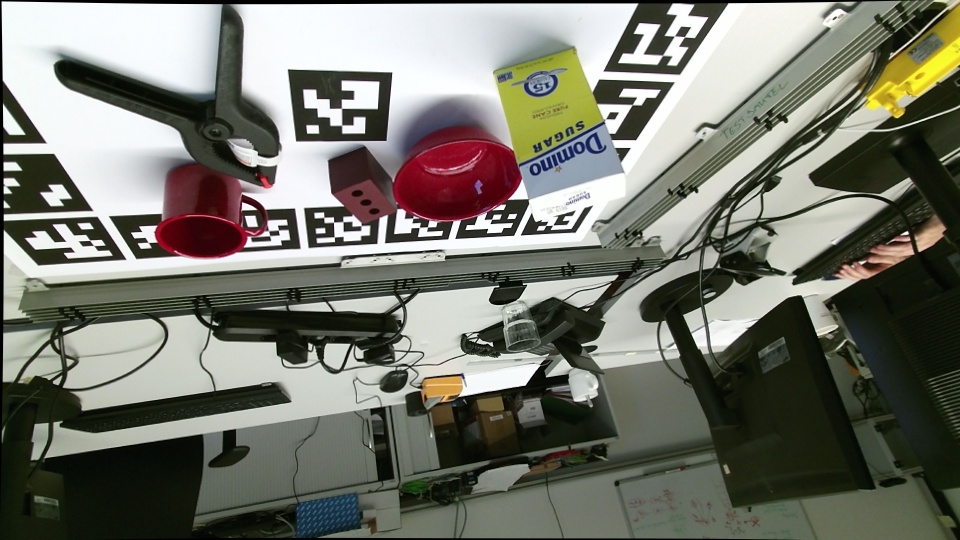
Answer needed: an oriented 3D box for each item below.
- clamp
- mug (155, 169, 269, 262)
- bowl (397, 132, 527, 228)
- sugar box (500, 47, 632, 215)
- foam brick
[{"bbox_3d":[-0.257,-0.146,0.542,0.166,0.036,0.203,-18,149,3],"label":"clamp"},{"bbox_3d":[-0.308,-0.059,0.629,0.118,0.081,0.093,15,140,-35],"label":"mug"},{"bbox_3d":[-0.025,-0.121,0.671,0.162,0.055,0.162,-9,149,-5],"label":"bowl"},{"bbox_3d":[0.083,-0.147,0.551,0.093,0.175,0.045,-16,148,7],"label":"sugar box"},{"bbox_3d":[-0.145,-0.104,0.666,0.053,0.051,0.078,-19,148,7],"label":"foam brick"}]
